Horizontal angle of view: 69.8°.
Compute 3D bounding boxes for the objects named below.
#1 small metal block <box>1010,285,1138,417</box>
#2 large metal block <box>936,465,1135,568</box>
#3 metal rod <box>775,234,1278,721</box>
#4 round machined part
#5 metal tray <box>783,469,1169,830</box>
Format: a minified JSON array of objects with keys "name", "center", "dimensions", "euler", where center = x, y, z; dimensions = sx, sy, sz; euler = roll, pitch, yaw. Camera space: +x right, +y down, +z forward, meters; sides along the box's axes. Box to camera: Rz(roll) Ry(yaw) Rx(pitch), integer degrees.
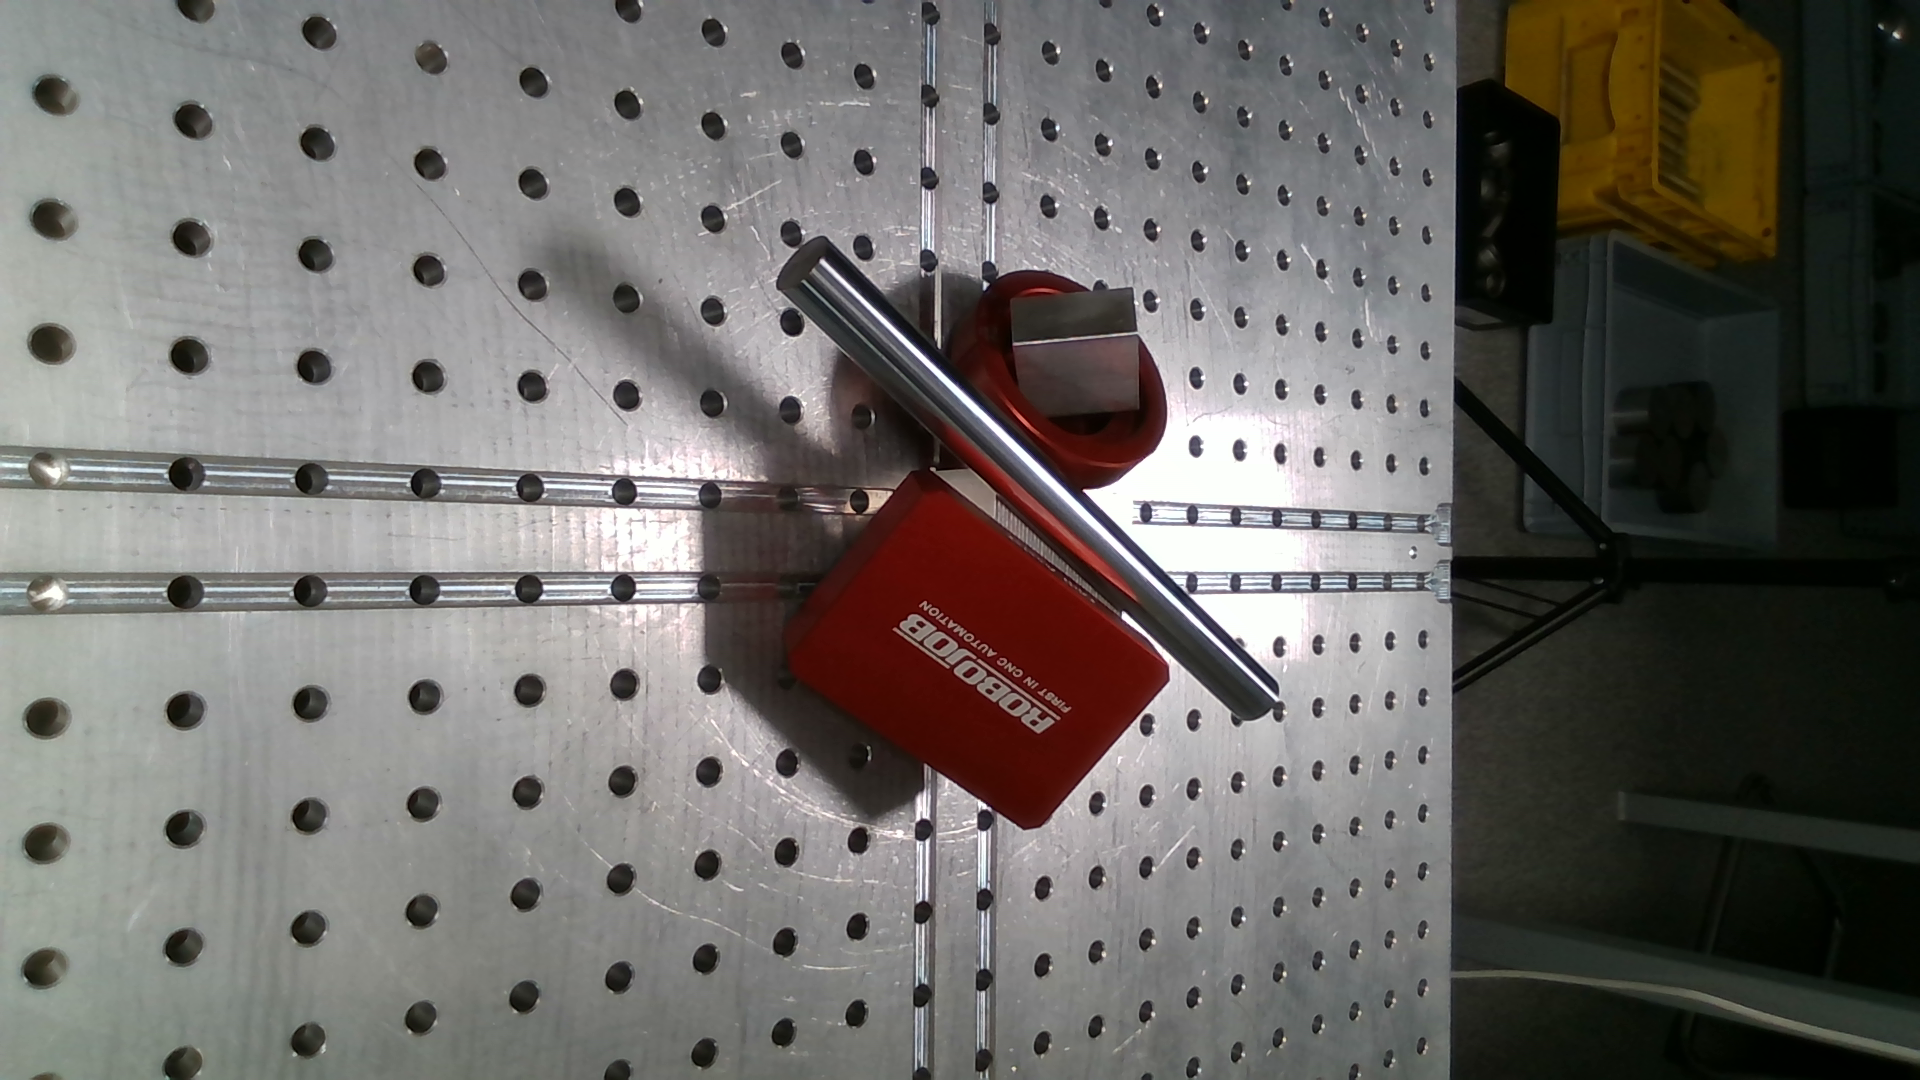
[{"name":"small metal block","center":[0.048,-0.077,0.574],"dimensions":[0.050,0.050,0.025],"euler":[78,9,-57]},{"name":"large metal block","center":[0.025,0.015,0.591],"dimensions":[0.080,0.050,0.080],"euler":[12,83,-40]},{"name":"metal rod","center":[0.040,-0.012,0.555],"dimensions":[0.301,0.025,0.025],"euler":[42,65,-32]},{"name":"round machined part","center":[0.037,-0.064,0.589],"dimensions":[0.098,0.042,0.098],"euler":[18,55,-28]},{"name":"metal tray","center":[0.007,0.045,0.545],"dimensions":[0.130,0.030,0.090],"euler":[37,98,-20]}]
